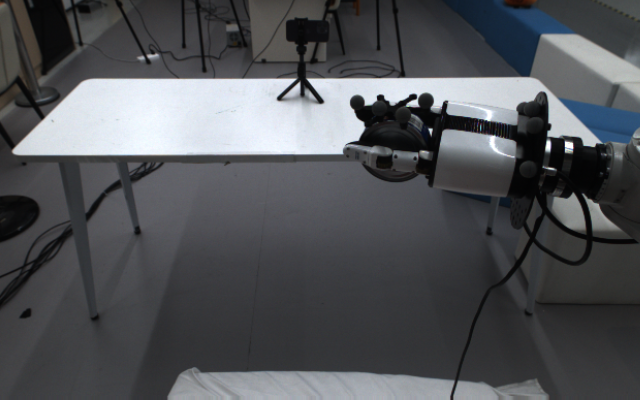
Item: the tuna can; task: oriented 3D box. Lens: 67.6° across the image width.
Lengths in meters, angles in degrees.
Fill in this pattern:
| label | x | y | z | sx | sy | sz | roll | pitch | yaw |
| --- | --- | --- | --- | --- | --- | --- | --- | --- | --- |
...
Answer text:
| label | x | y | z | sx | sy | sz | roll | pitch | yaw |
| --- | --- | --- | --- | --- | --- | --- | --- | --- | --- |
| tuna can | 0.093 | -0.067 | 0.592 | 0.085 | 0.085 | 0.034 | 11 | 39 | 13 |
